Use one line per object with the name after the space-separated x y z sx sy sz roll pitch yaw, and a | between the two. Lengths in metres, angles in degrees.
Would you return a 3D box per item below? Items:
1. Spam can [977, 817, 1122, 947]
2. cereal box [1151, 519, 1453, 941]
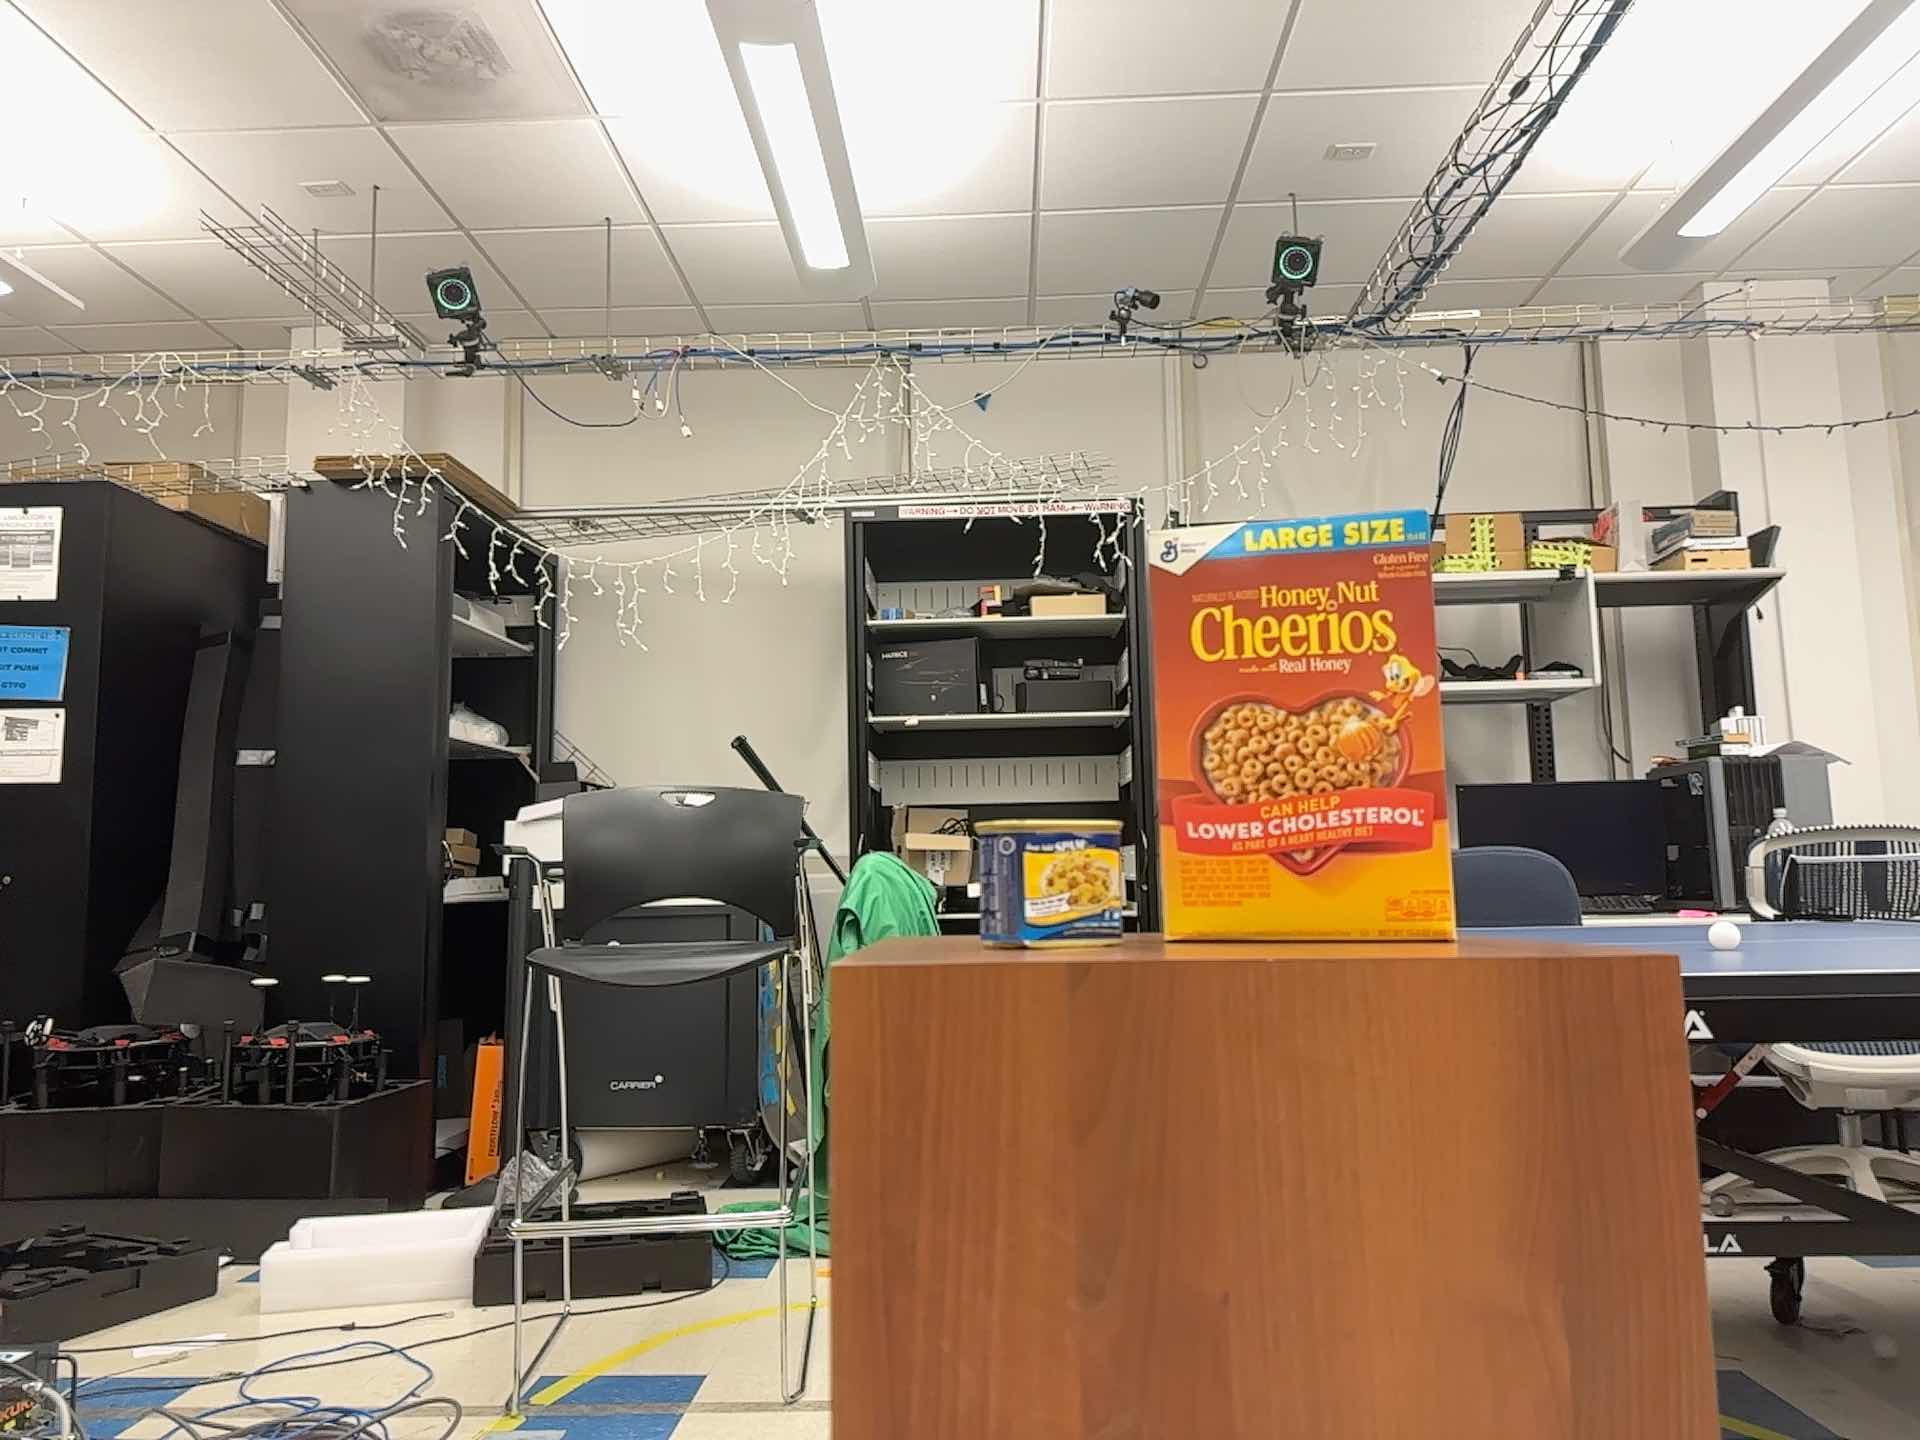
0.062 0.112 0.925 0.100 0.083 0.056 6 -11 -36 | Spam can
0.248 0.009 1.004 0.195 0.297 0.065 -2 -9 10 | cereal box
